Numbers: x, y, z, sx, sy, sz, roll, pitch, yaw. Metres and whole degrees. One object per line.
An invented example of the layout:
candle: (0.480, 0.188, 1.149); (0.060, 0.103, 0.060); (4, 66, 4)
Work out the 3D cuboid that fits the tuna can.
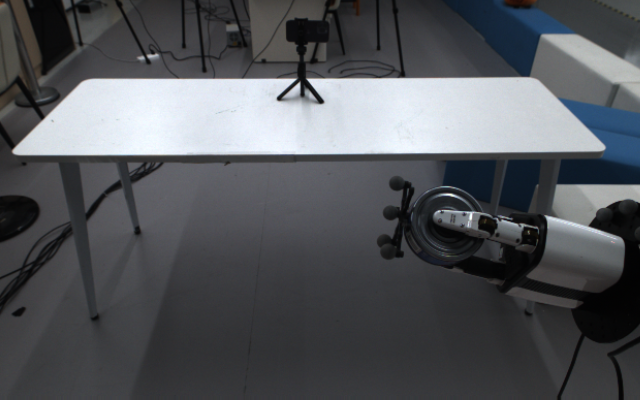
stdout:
tuna can: (0.141, 0.026, 0.540); (0.085, 0.034, 0.085); (2, 73, -6)
